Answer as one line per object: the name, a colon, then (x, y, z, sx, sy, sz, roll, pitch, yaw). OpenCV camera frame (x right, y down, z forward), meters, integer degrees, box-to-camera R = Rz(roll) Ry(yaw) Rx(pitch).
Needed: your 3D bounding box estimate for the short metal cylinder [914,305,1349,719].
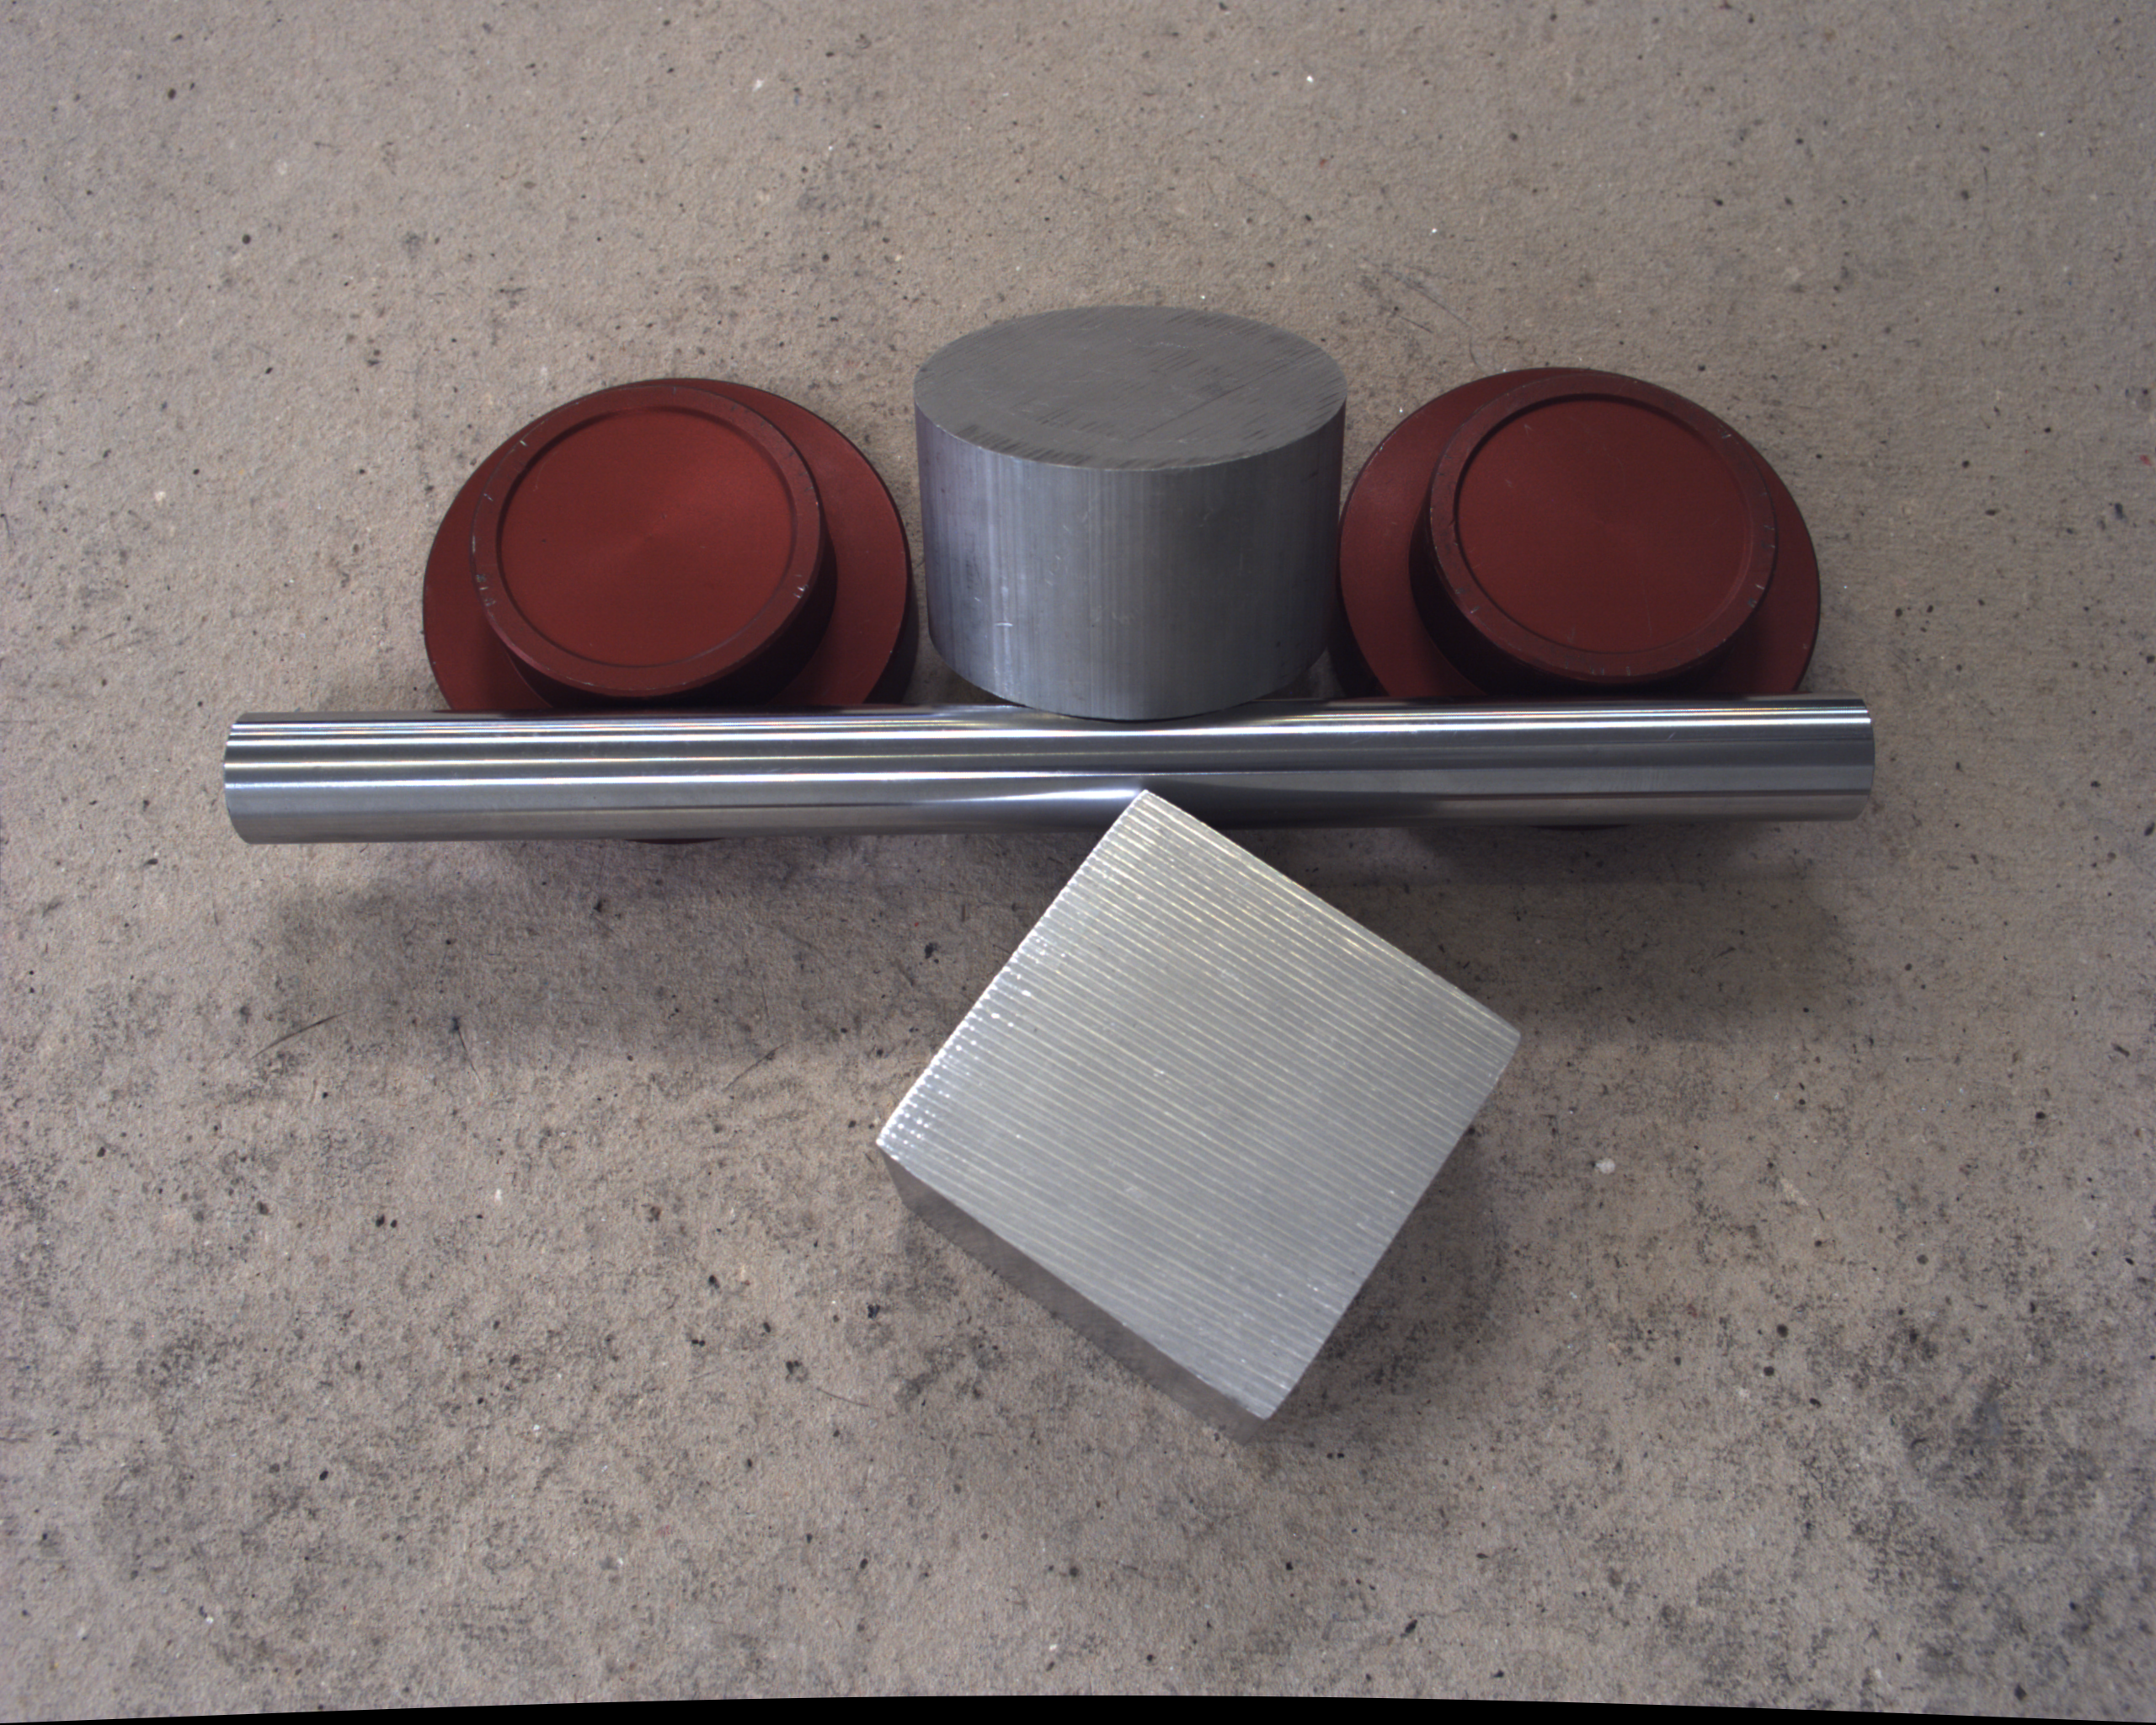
short metal cylinder: (0.010, -0.069, 0.402, 0.080, 0.050, 0.080, 0, 35, 0)

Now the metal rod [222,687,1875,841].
metal rod: (-0.005, -0.019, 0.394, 0.302, 0.025, 0.025, -1, 70, -1)

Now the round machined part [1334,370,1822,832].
round machined part: (0.102, -0.059, 0.423, 0.099, 0.042, 0.098, 0, 70, 0)

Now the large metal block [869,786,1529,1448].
large metal block: (0.021, 0.047, 0.377, 0.080, 0.050, 0.080, 34, 73, 11)

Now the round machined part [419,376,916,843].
round machined part: (-0.083, -0.056, 0.420, 0.099, 0.042, 0.098, 0, 70, 0)
